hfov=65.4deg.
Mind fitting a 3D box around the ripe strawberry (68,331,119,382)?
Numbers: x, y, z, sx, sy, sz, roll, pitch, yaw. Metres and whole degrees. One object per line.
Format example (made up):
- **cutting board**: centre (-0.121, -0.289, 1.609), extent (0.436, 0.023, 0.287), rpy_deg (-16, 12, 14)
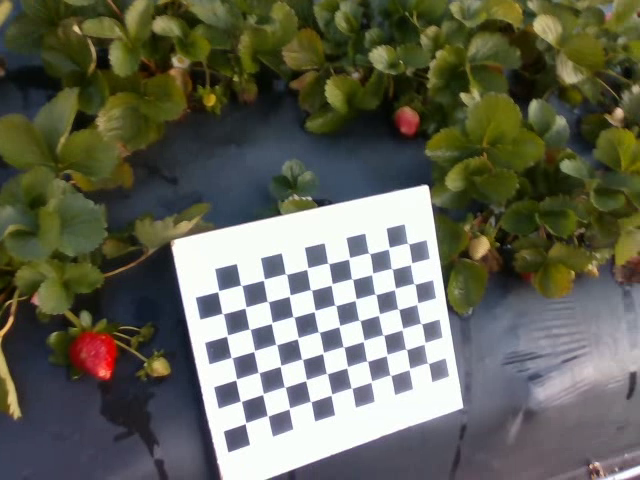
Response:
- **ripe strawberry**: centre (-0.219, 0.118, 0.488), extent (0.043, 0.052, 0.057), rpy_deg (-38, 41, -5)
